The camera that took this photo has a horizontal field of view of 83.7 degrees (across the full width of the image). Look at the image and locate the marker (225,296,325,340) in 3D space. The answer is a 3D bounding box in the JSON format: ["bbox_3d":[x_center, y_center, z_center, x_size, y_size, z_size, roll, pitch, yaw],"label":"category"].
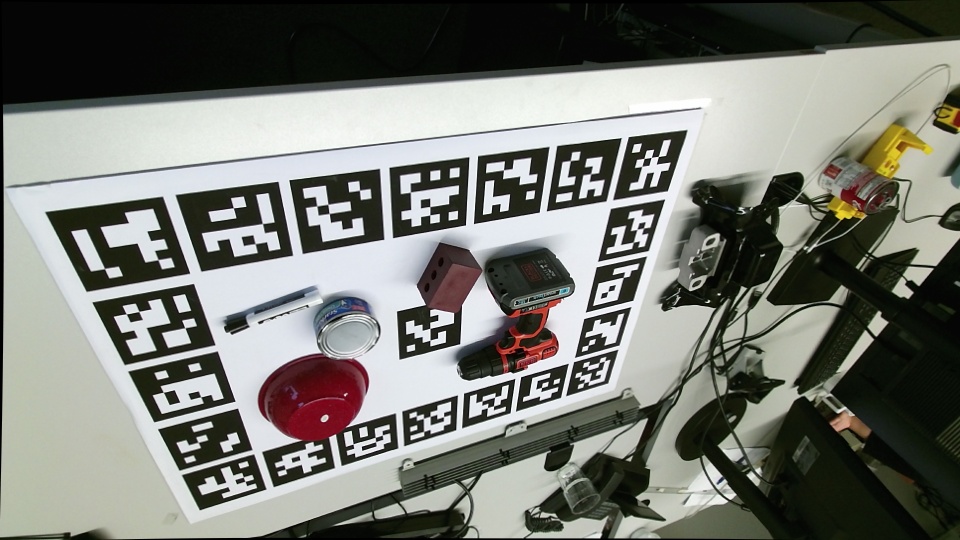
[{"bbox_3d":[-0.258,0.061,0.676,0.121,0.019,0.019,-19,129,-13],"label":"marker"}]

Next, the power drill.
[{"bbox_3d":[0.061,0.087,0.846,0.185,0.057,0.187,-10,131,-16],"label":"power drill"}]

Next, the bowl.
[{"bbox_3d":[-0.232,0.204,0.791,0.162,0.055,0.162,-18,138,-17],"label":"bowl"}]

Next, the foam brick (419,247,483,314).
[{"bbox_3d":[-0.041,0.015,0.743,0.051,0.052,0.078,12,117,-32],"label":"foam brick"}]

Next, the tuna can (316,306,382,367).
[{"bbox_3d":[-0.179,0.090,0.732,0.086,0.033,0.086,-13,129,-16],"label":"tuna can"}]
